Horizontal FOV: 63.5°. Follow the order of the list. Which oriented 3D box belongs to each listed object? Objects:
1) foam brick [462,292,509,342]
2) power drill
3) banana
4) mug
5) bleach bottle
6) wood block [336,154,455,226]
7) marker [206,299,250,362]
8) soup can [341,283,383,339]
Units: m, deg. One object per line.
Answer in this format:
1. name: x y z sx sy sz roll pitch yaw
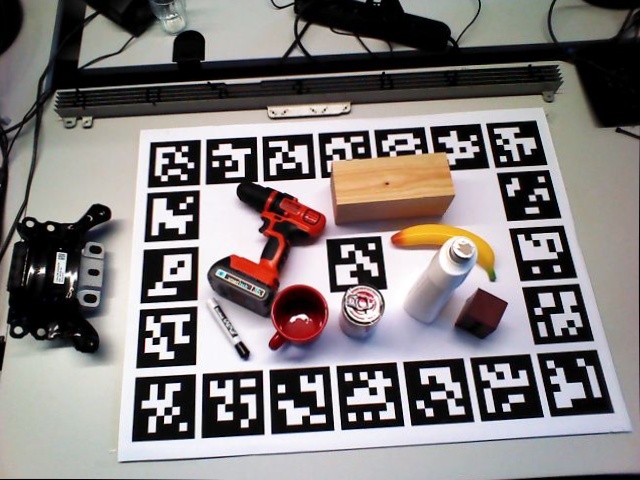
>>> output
1. foam brick: 0.274 0.124 0.845 0.053 0.078 0.051 28 68 13
2. power drill: -0.095 0.005 0.913 0.185 0.057 0.186 25 69 7
3. banana: 0.221 -0.005 0.915 0.198 0.039 0.074 12 82 3
4. mug: -0.038 0.130 0.841 0.093 0.082 0.117 38 76 12
5. bleach bottle: 0.193 0.052 0.780 0.068 0.251 0.102 24 69 10
6. wood block: 0.135 -0.091 0.928 0.206 0.091 0.089 -4 69 -1
7. marker: -0.154 0.152 0.871 0.019 0.020 0.121 -32 72 -10
8. soup can: 0.070 0.114 0.830 0.068 0.102 0.067 0 64 -1
